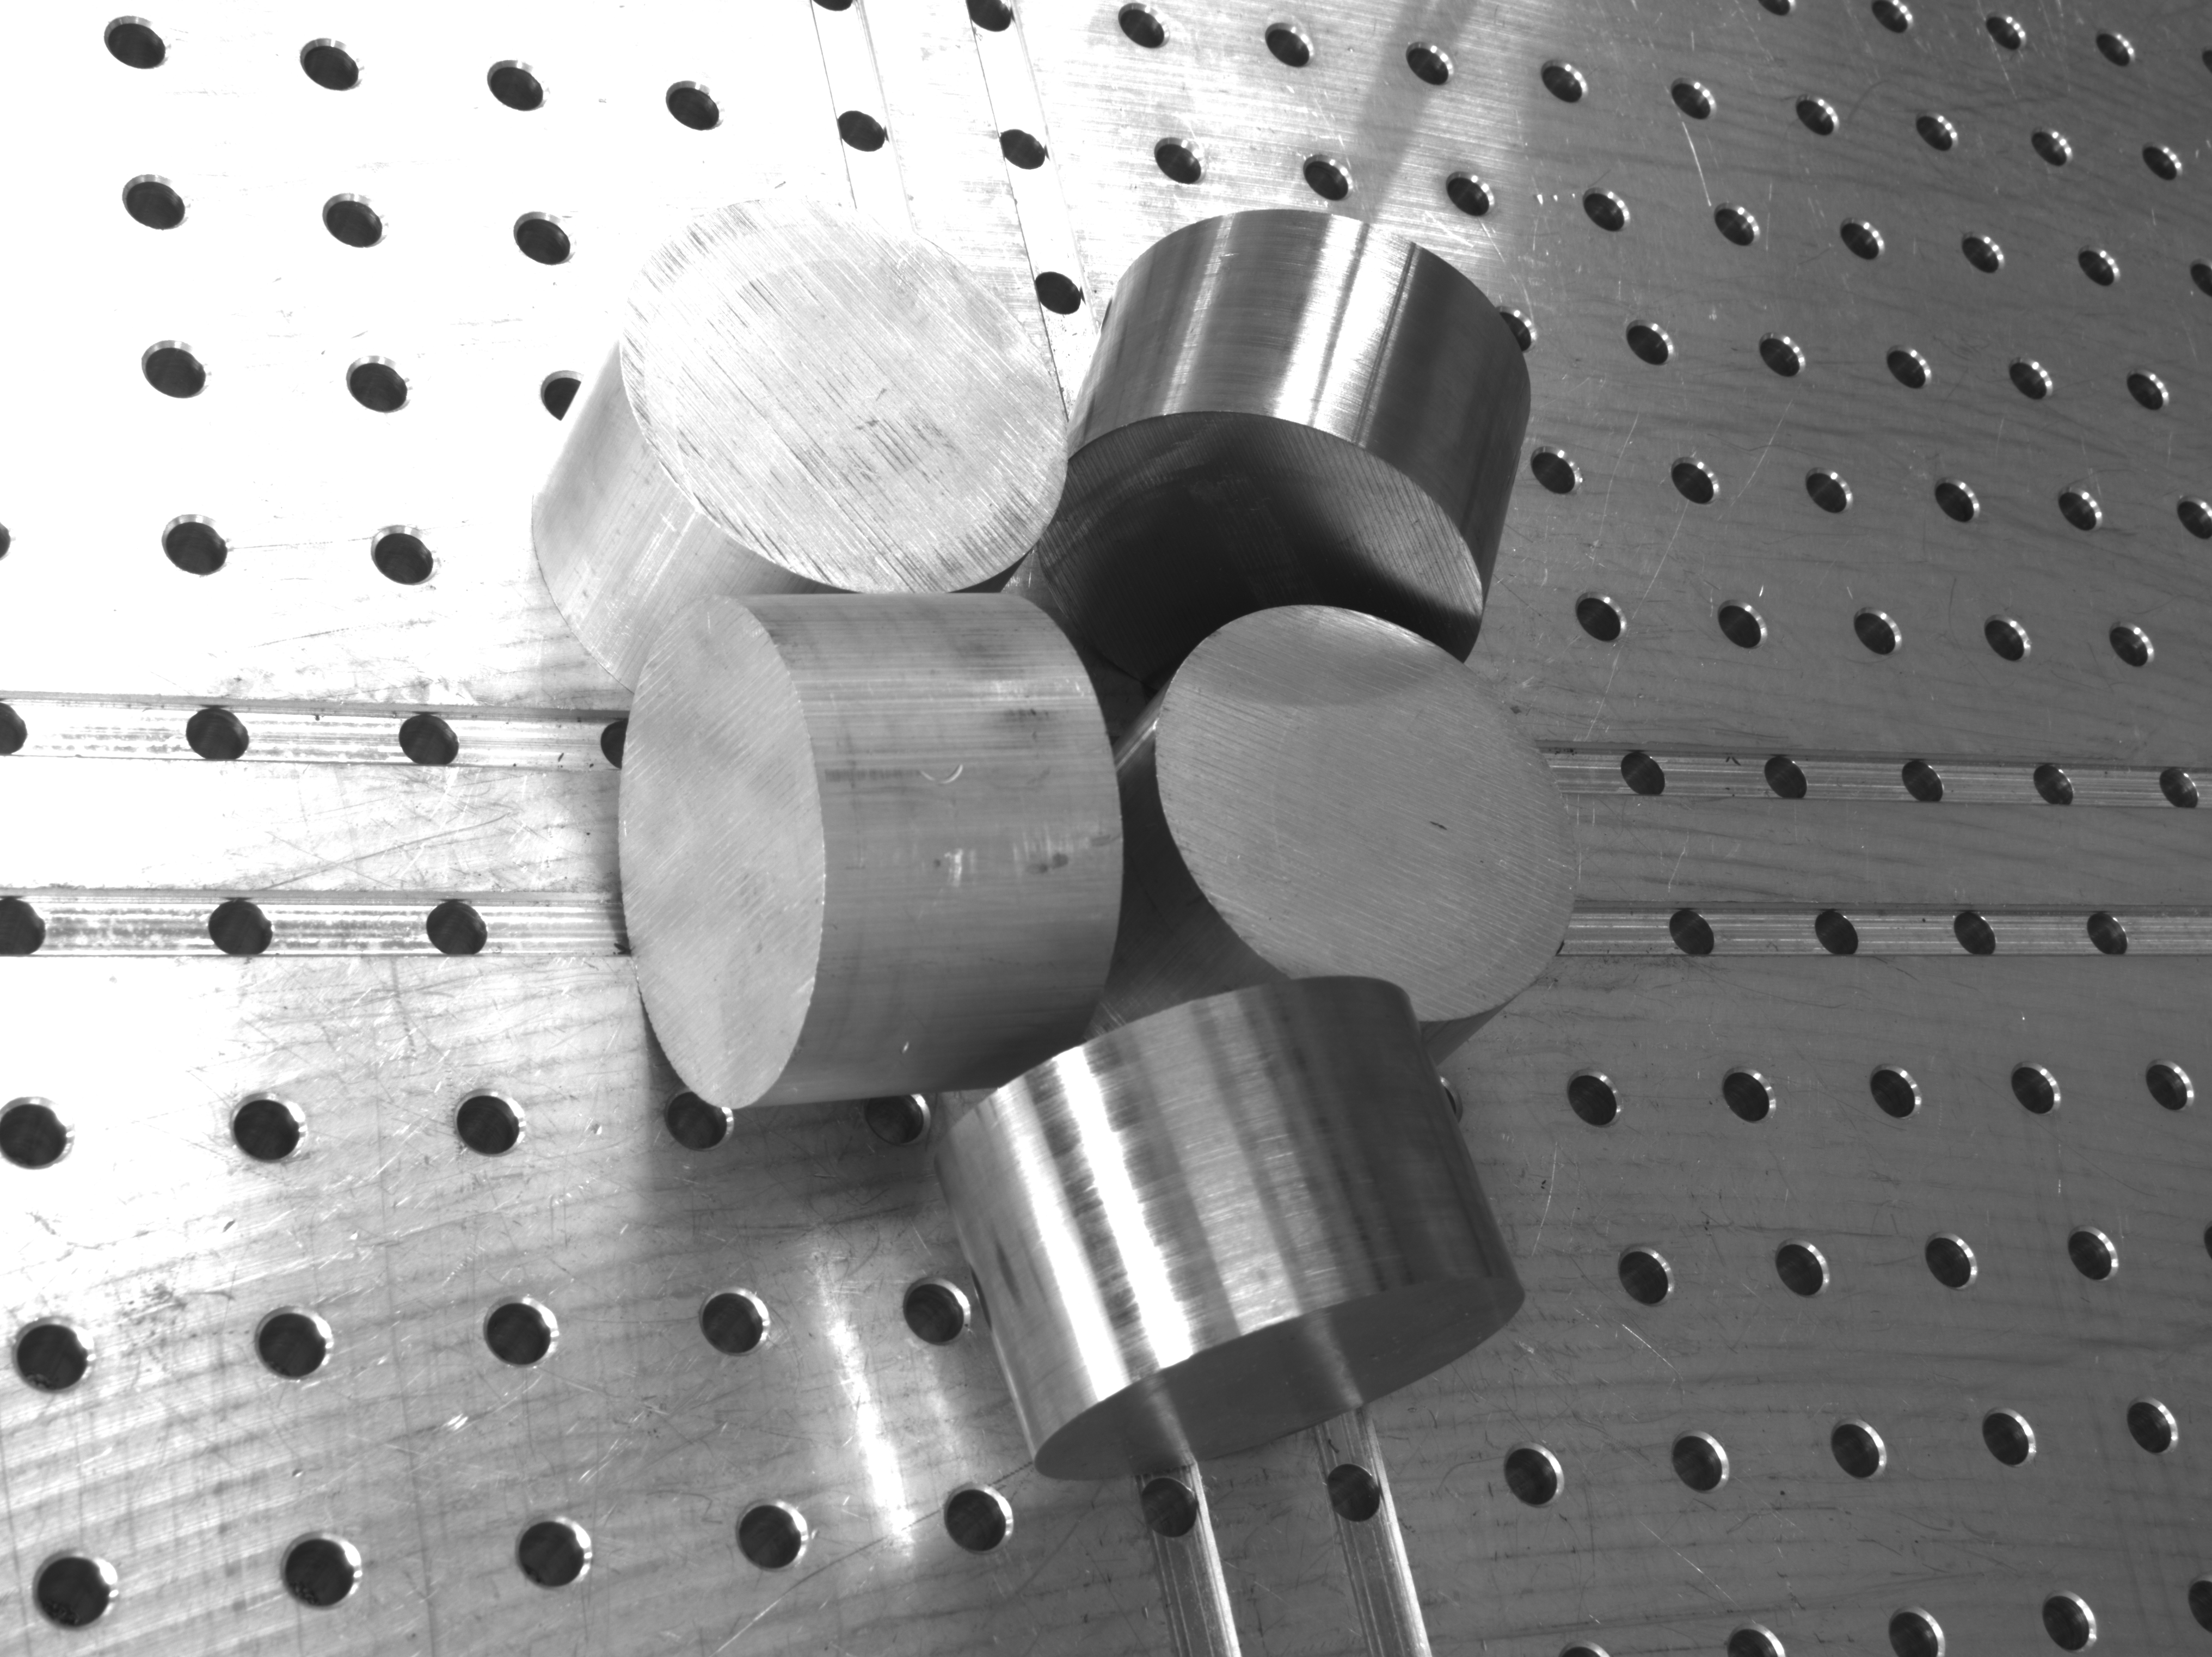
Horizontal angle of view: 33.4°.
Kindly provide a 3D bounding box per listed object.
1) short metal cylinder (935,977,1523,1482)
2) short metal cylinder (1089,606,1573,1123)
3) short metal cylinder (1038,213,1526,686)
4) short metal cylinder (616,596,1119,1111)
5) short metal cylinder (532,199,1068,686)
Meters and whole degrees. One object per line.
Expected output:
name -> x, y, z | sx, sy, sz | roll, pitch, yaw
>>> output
short metal cylinder -> 0.019, 0.064, 0.578 | 0.080, 0.080, 0.050 | -6, 65, -31
short metal cylinder -> 0.034, 0.009, 0.640 | 0.080, 0.050, 0.080 | 14, 56, -21
short metal cylinder -> 0.032, -0.064, 0.664 | 0.080, 0.080, 0.050 | 25, 52, -12
short metal cylinder -> -0.039, 0.003, 0.586 | 0.050, 0.080, 0.080 | -2, 63, -29
short metal cylinder -> -0.053, -0.061, 0.635 | 0.080, 0.050, 0.080 | 13, 57, -20
